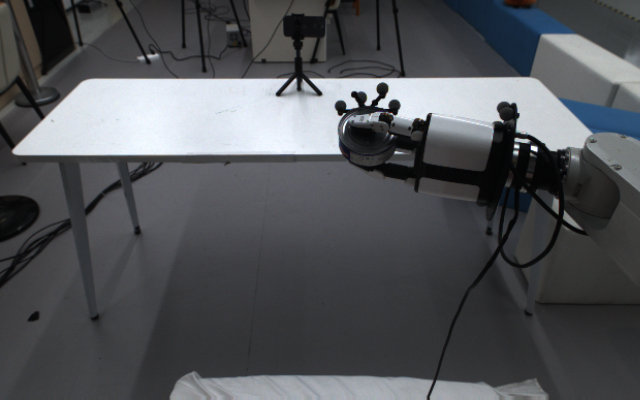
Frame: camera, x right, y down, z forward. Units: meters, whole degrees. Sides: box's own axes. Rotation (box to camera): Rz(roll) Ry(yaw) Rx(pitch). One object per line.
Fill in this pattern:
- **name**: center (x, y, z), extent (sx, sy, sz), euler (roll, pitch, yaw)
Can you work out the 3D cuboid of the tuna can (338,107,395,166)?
- **tuna can**: center (0.068, -0.092, 0.690), extent (0.085, 0.034, 0.085), euler (-2, 56, 3)
